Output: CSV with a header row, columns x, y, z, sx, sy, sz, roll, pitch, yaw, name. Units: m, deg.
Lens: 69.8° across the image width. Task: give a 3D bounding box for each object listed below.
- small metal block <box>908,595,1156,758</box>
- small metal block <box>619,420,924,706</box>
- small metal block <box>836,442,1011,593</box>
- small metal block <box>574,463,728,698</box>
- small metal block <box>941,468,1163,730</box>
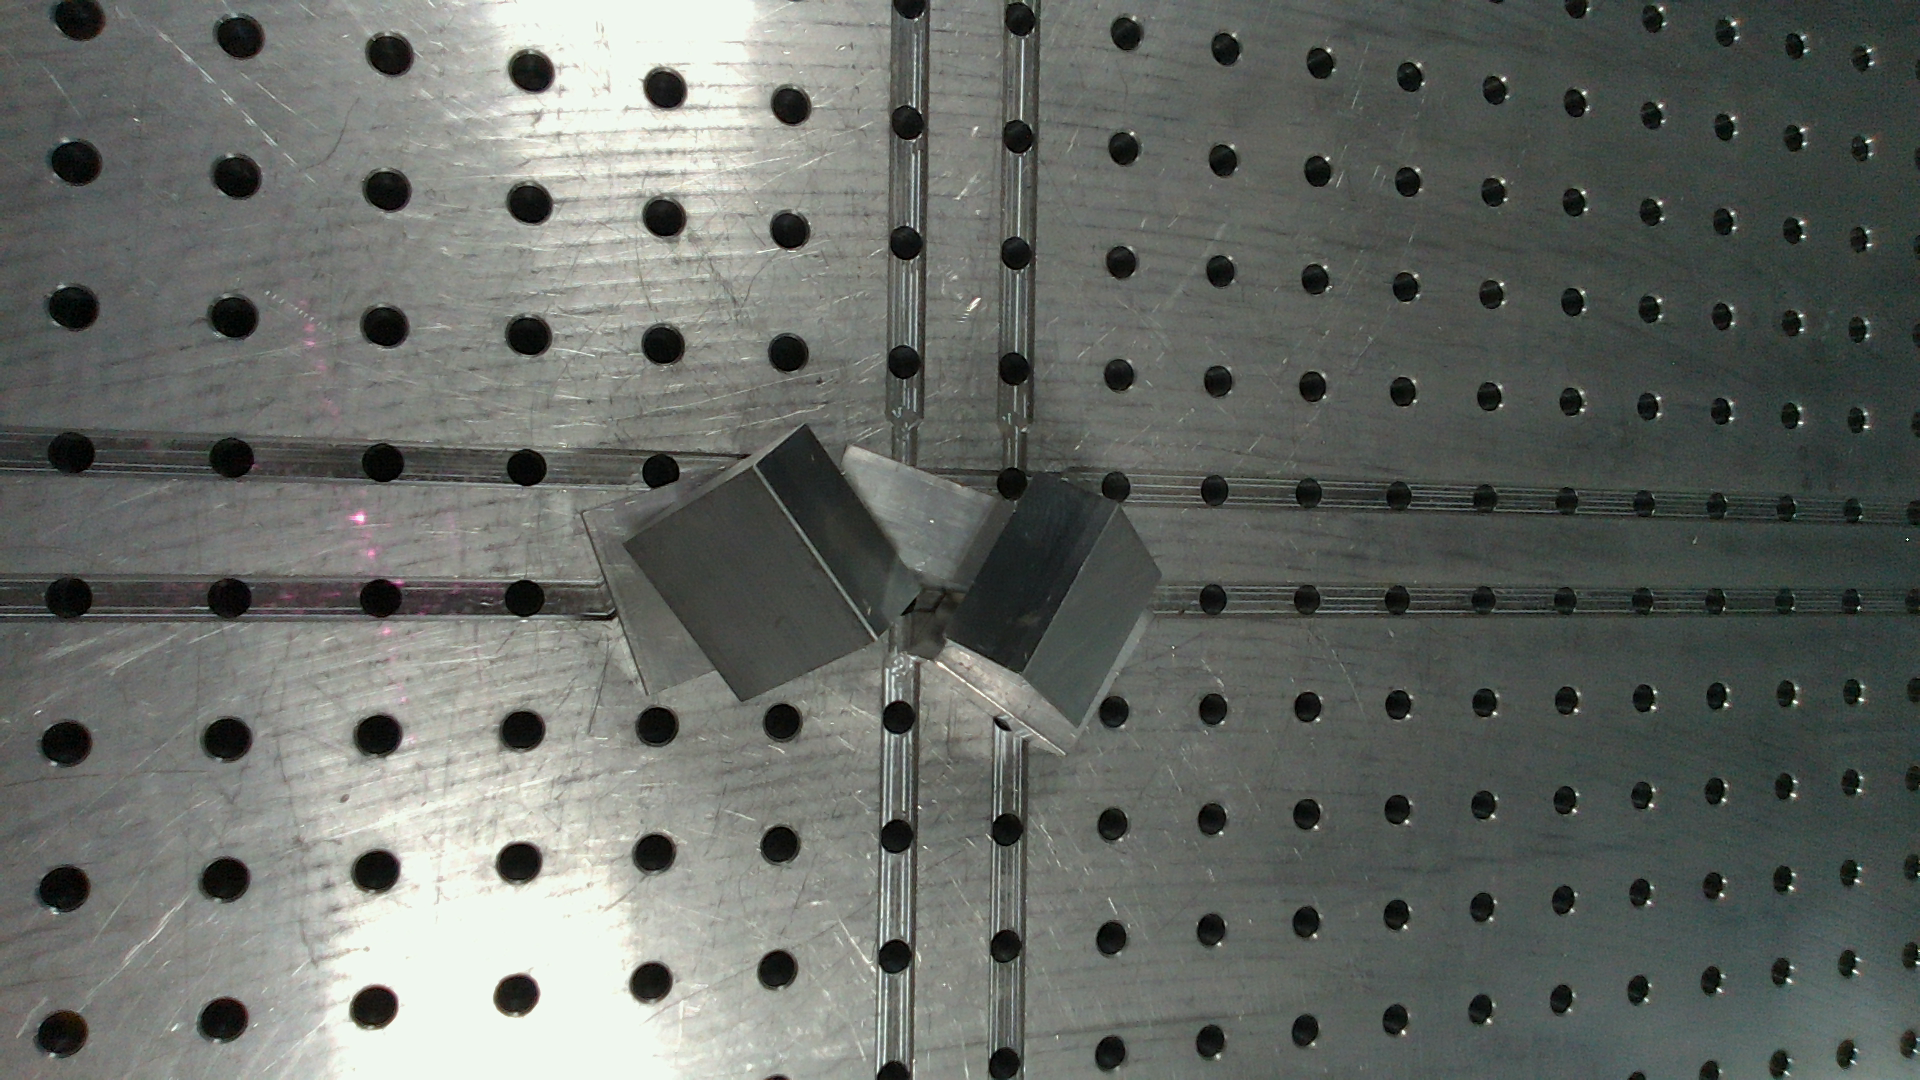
x,y,z,sx,sy,sz,roll,pitch,yaw,name
0.021,0.028,0.404,0.050,0.025,0.050,37,78,-16,small metal block
-0.046,0.007,0.336,0.050,0.050,0.025,55,36,-12,small metal block
-0.018,-0.005,0.376,0.050,0.050,0.025,20,84,-19,small metal block
-0.071,0.009,0.370,0.050,0.025,0.050,-21,97,-19,small metal block
0.026,0.017,0.364,0.050,0.025,0.050,-60,151,-10,small metal block
